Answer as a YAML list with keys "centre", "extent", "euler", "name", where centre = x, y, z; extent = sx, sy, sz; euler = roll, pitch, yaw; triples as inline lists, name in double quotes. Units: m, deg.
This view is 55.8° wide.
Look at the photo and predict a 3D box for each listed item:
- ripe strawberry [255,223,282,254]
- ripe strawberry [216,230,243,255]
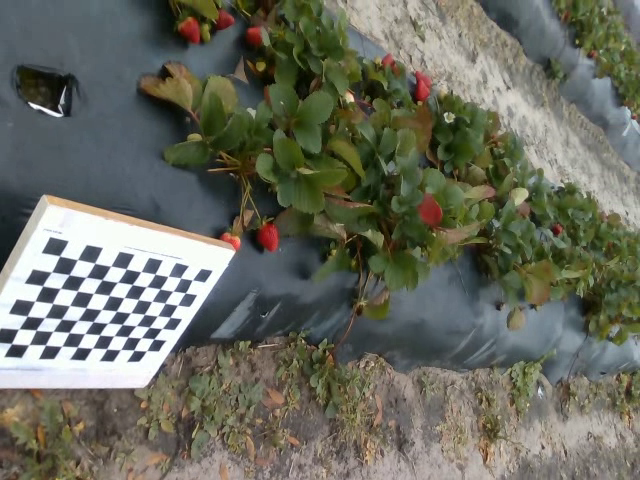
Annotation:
- centre: [-0.081, -0.004, 0.971]
  extent: [0.044, 0.059, 0.042]
  euler: [-21, 26, -13]
  name: "ripe strawberry"
- centre: [-0.135, 0.009, 0.912]
  extent: [0.036, 0.041, 0.028]
  euler: [21, 2, -41]
  name: "ripe strawberry"
